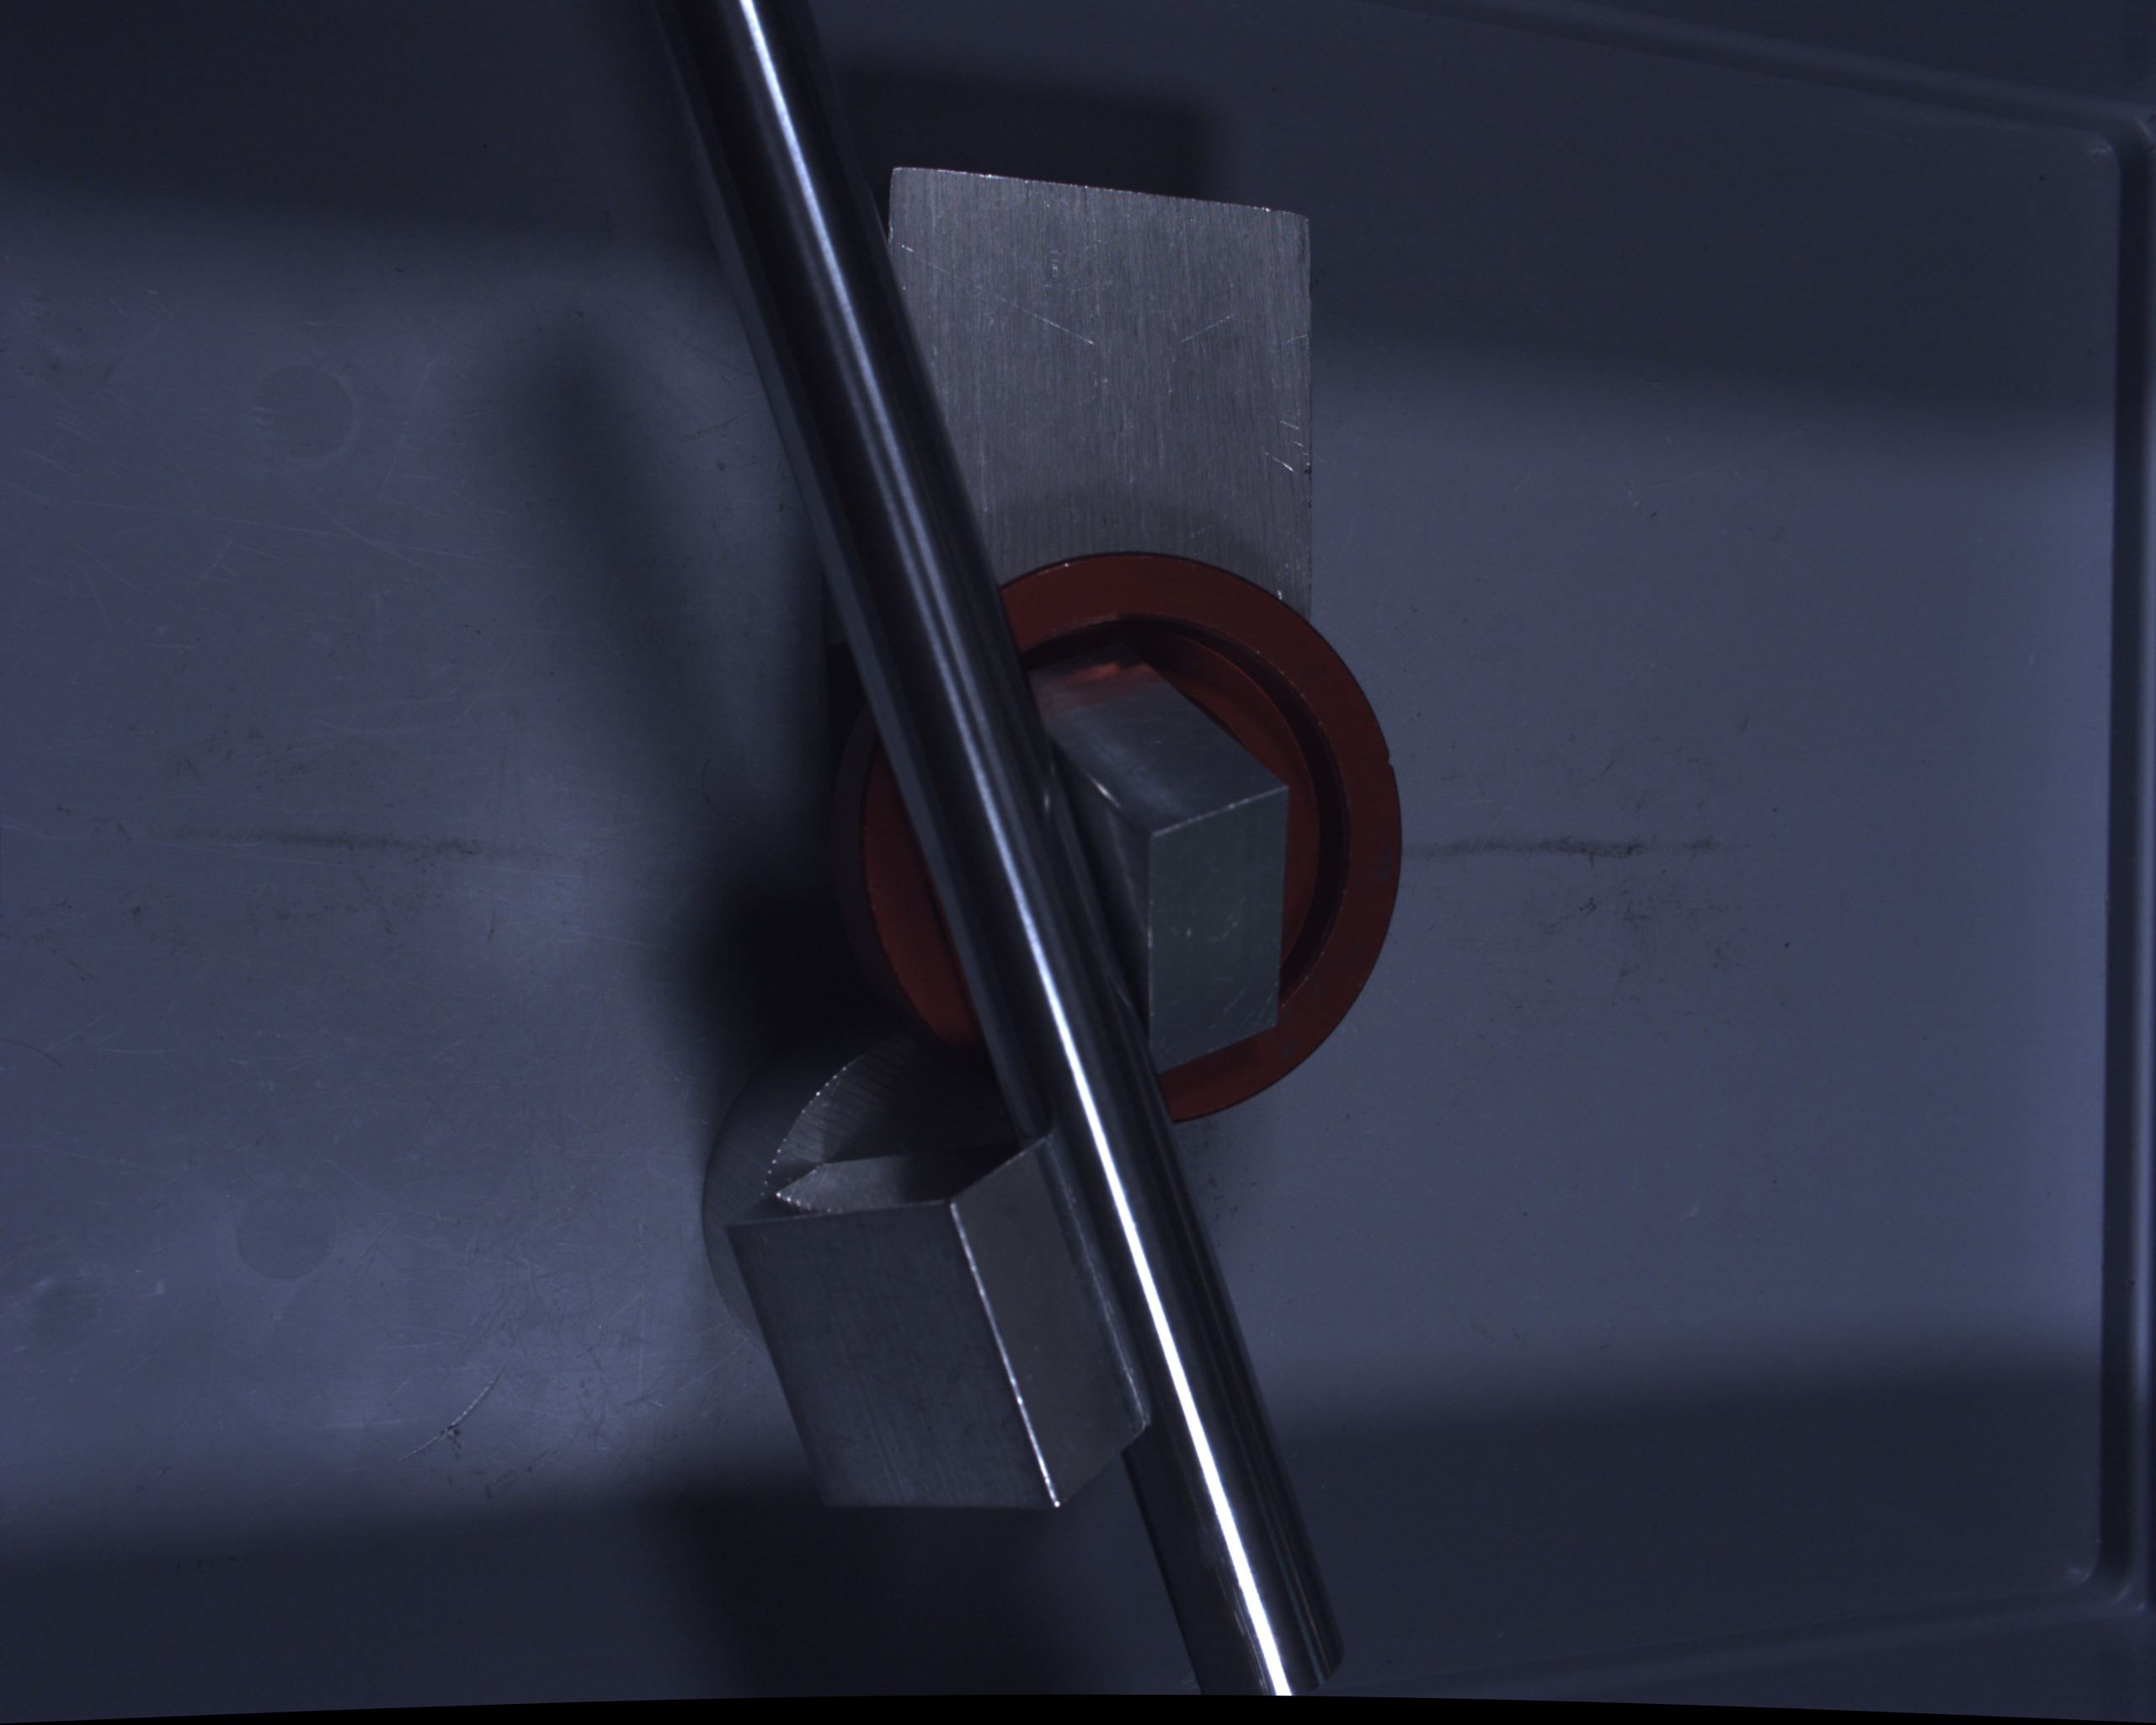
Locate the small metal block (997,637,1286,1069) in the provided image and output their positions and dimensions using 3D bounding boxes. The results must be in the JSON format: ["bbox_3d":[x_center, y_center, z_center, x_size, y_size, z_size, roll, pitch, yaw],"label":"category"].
[{"bbox_3d":[0.009,-0.002,0.349,0.025,0.050,0.050,-20,132,-23],"label":"small metal block"}]

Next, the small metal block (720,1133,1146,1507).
[{"bbox_3d":[-0.023,0.074,0.333,0.025,0.050,0.050,-26,100,-52],"label":"small metal block"}]

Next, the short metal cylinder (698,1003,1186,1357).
[{"bbox_3d":[-0.026,0.066,0.388,0.081,0.050,0.079,0,90,-21],"label":"short metal cylinder"}]

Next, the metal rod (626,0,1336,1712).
[{"bbox_3d":[-0.015,-0.007,0.330,0.025,0.025,0.298,-20,97,-19],"label":"metal rod"}]

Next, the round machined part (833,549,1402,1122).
[{"bbox_3d":[0.004,-0.004,0.371,0.099,0.042,0.097,0,90,-21],"label":"round machined part"}]

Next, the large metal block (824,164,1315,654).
[{"bbox_3d":[-0.003,-0.080,0.394,0.081,0.050,0.079,0,90,-21],"label":"large metal block"}]
